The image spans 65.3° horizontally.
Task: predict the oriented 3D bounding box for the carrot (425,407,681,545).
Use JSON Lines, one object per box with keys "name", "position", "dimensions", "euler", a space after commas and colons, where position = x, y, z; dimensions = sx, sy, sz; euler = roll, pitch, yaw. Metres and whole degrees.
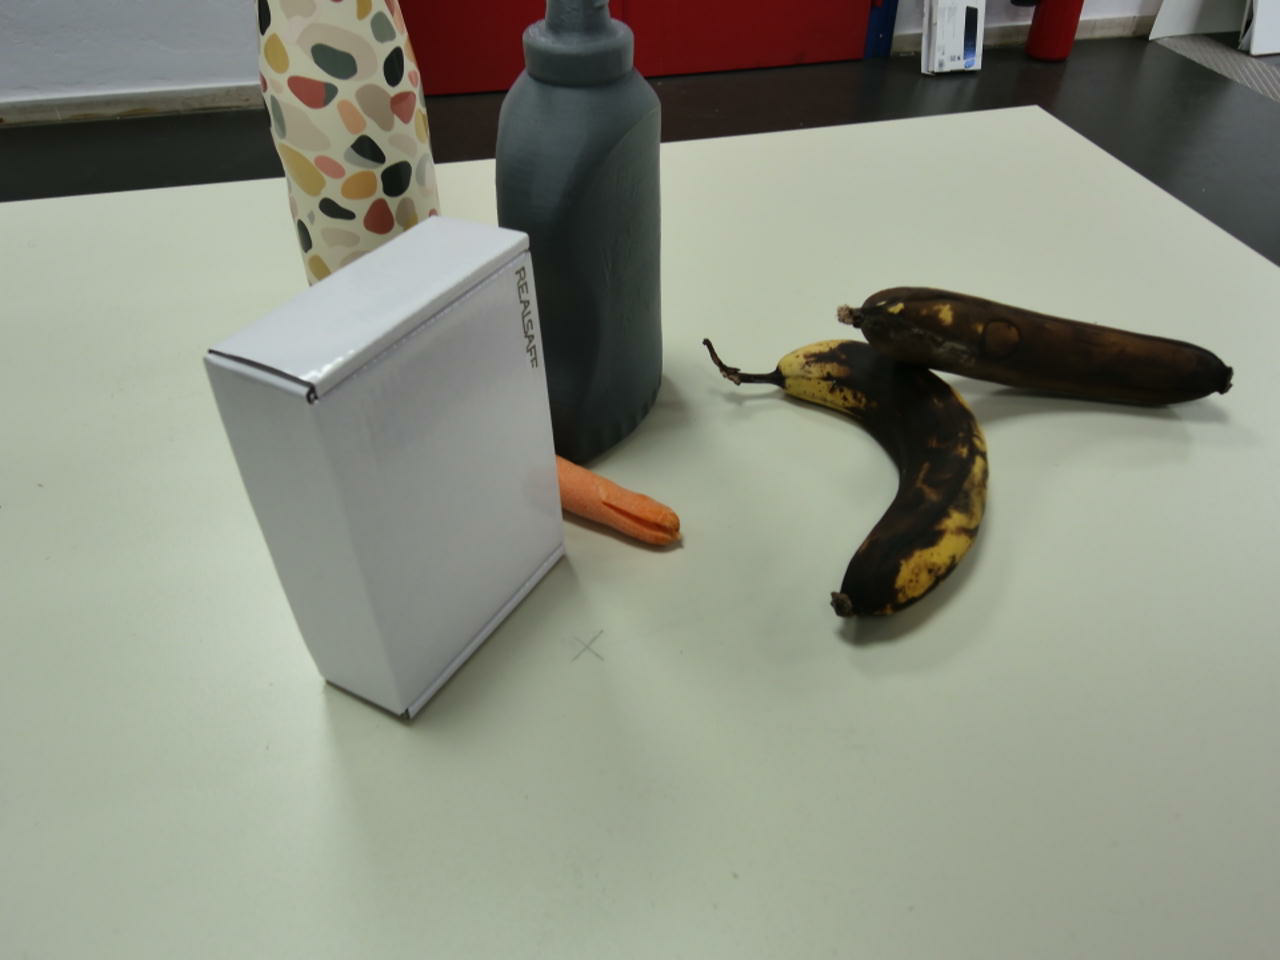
{"name": "carrot", "position": [-0.042, -0.003, 0.455], "dimensions": [0.136, 0.032, 0.030], "euler": [21, 43, 25]}
